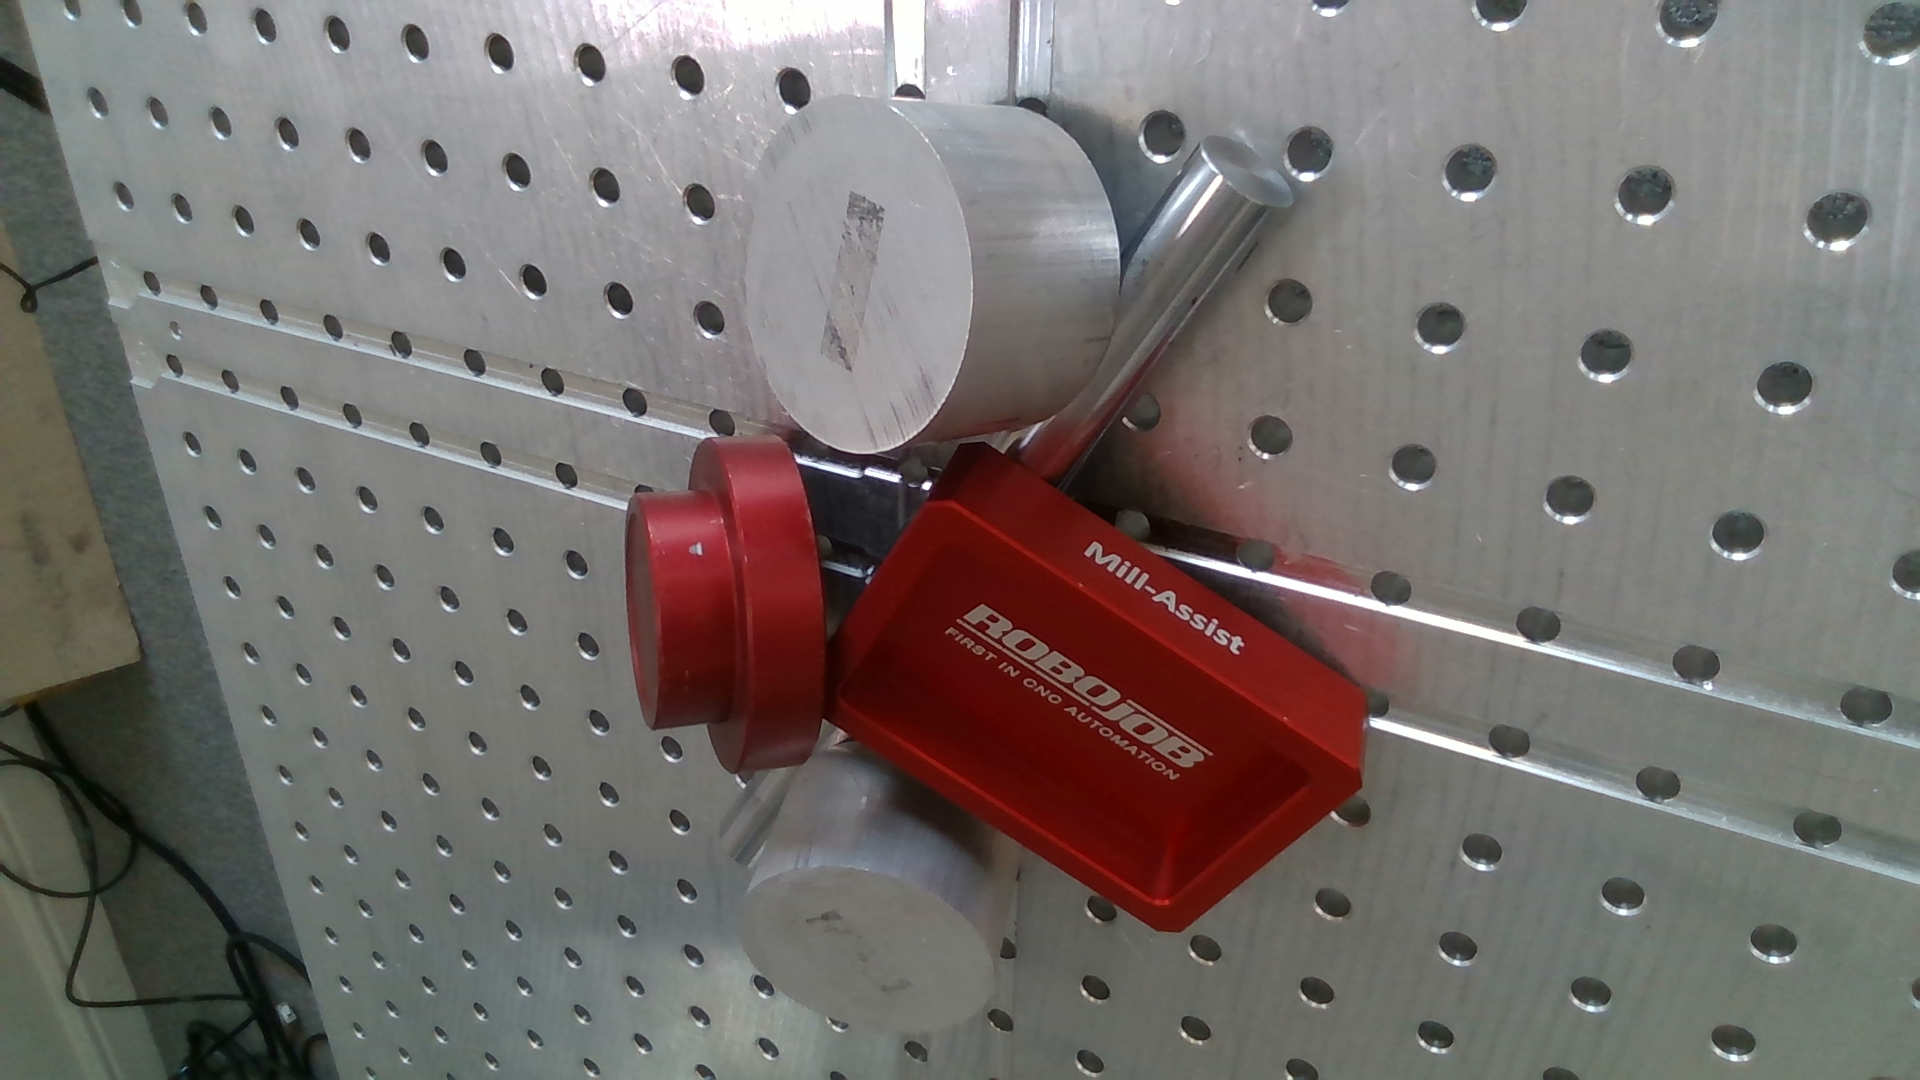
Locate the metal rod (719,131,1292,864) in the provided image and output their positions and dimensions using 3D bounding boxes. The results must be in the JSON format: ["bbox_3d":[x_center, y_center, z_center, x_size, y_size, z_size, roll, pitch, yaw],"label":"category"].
[{"bbox_3d":[-0.006,0.011,0.402,0.025,0.025,0.301,41,129,6],"label":"metal rod"}]

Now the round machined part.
[{"bbox_3d":[-0.072,0.018,0.400,0.098,0.042,0.098,175,91,-71],"label":"round machined part"}]

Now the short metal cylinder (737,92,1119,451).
[{"bbox_3d":[-0.009,-0.065,0.331,0.080,0.050,0.080,14,110,42],"label":"short metal cylinder"}]

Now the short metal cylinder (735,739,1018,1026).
[{"bbox_3d":[-0.025,0.108,0.435,0.080,0.050,0.080,7,130,9],"label":"short metal cylinder"}]

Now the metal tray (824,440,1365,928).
[{"bbox_3d":[0.031,0.043,0.374,0.130,0.030,0.090,33,129,-4],"label":"metal tray"}]
